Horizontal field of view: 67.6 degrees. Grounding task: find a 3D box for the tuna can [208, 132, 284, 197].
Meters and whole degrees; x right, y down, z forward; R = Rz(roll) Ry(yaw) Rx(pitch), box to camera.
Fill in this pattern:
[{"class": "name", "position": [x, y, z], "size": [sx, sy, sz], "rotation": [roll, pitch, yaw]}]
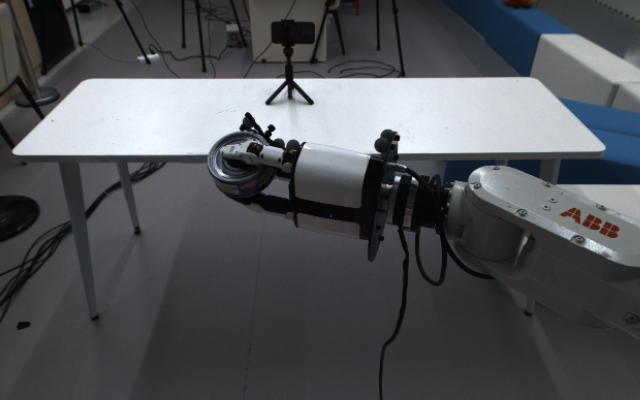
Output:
[{"class": "tuna can", "position": [-0.098, -0.041, 0.626], "size": [0.085, 0.034, 0.085], "rotation": [-4, 57, 6]}]
